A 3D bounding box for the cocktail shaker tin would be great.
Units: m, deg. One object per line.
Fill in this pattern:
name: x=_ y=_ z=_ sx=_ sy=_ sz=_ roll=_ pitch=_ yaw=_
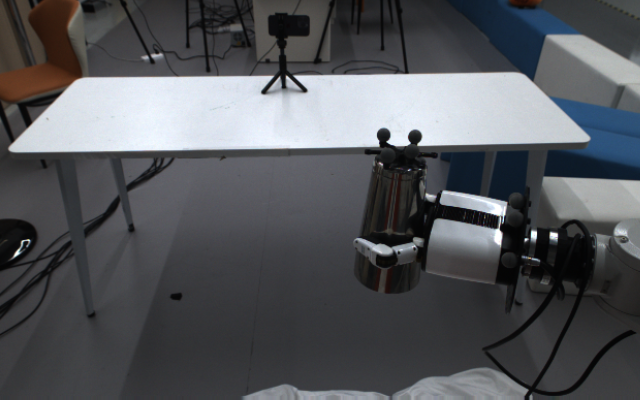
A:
cocktail shaker tin: x=0.098 y=0.025 z=0.633 sx=0.093 sy=0.170 sz=0.093 roll=2 pitch=28 yaw=-1
